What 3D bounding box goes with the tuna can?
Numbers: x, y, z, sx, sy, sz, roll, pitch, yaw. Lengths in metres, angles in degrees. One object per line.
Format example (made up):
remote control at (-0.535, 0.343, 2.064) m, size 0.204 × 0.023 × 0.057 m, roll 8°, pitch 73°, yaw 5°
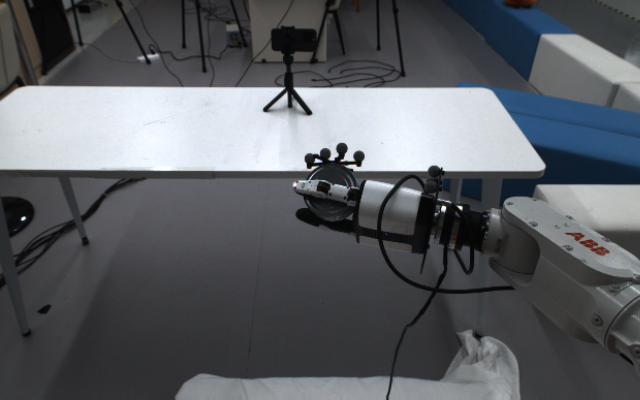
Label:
tuna can at (0.019, -0.011, 0.746) m, size 0.085 × 0.034 × 0.085 m, roll -5°, pitch 72°, yaw 14°
